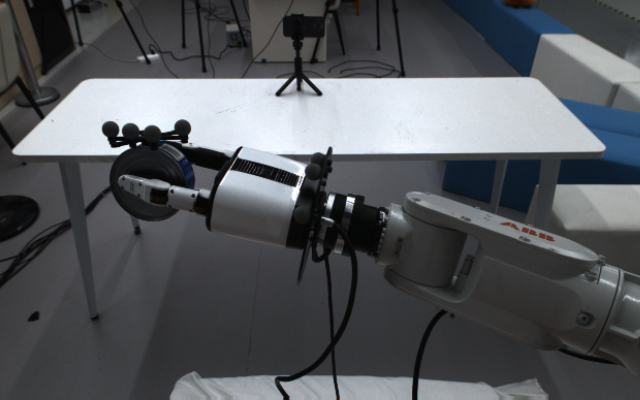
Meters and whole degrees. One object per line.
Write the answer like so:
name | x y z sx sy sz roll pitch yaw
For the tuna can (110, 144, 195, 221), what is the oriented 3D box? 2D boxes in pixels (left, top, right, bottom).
tuna can | -0.181 -0.020 0.541 0.085 0.085 0.034 4 18 3
